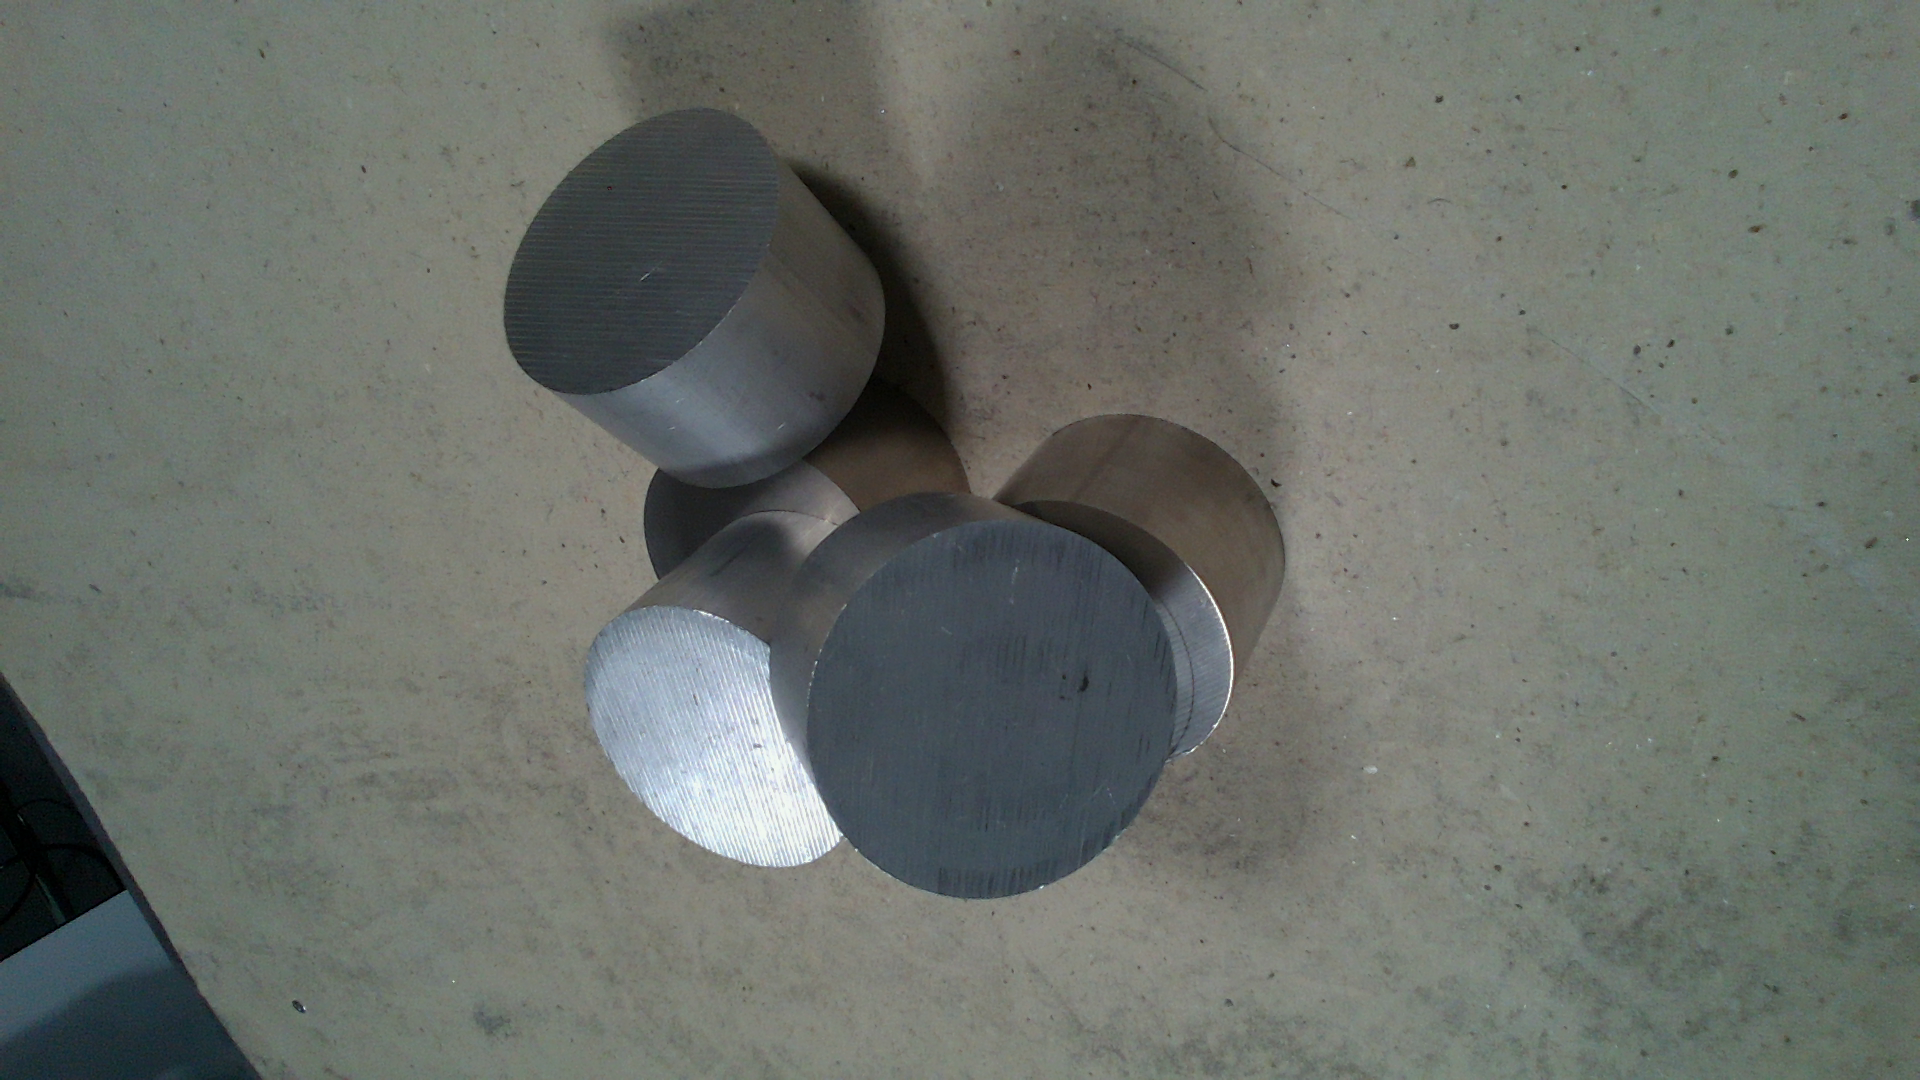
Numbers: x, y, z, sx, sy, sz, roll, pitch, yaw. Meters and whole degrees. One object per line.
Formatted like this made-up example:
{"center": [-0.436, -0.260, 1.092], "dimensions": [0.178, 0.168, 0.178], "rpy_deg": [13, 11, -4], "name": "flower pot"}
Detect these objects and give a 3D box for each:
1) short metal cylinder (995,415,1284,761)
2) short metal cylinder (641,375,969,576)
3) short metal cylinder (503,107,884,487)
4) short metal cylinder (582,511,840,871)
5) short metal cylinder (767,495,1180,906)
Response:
{"center": [0.040, 0.014, 0.363], "dimensions": [0.080, 0.050, 0.080], "rpy_deg": [13, 124, 21], "name": "short metal cylinder"}
{"center": [-0.044, -0.004, 0.398], "dimensions": [0.080, 0.050, 0.080], "rpy_deg": [13, 124, 21], "name": "short metal cylinder"}
{"center": [-0.066, -0.060, 0.348], "dimensions": [0.080, 0.080, 0.050], "rpy_deg": [0, 157, 28], "name": "short metal cylinder"}
{"center": [-0.051, 0.039, 0.363], "dimensions": [0.080, 0.050, 0.080], "rpy_deg": [13, 124, 21], "name": "short metal cylinder"}
{"center": [0.001, 0.032, 0.303], "dimensions": [0.080, 0.080, 0.050], "rpy_deg": [61, 170, -15], "name": "short metal cylinder"}
